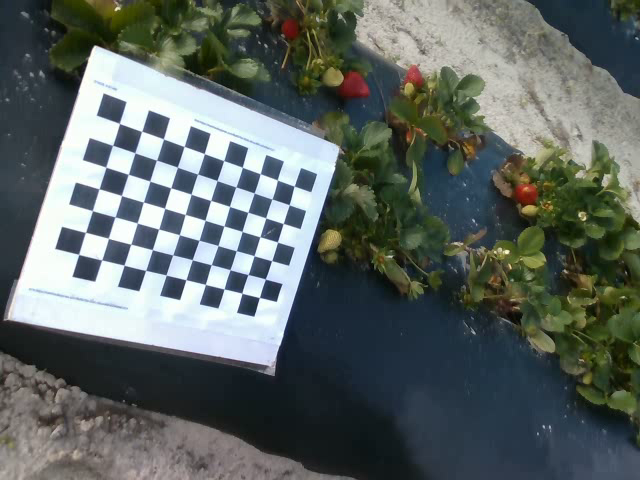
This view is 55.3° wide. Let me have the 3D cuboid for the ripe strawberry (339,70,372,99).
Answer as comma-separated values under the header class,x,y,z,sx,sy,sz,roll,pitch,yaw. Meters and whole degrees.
class,x,y,z,sx,sy,sz,roll,pitch,yaw
ripe strawberry,0.062,-0.257,1.011,0.055,0.051,0.048,39,-16,31
